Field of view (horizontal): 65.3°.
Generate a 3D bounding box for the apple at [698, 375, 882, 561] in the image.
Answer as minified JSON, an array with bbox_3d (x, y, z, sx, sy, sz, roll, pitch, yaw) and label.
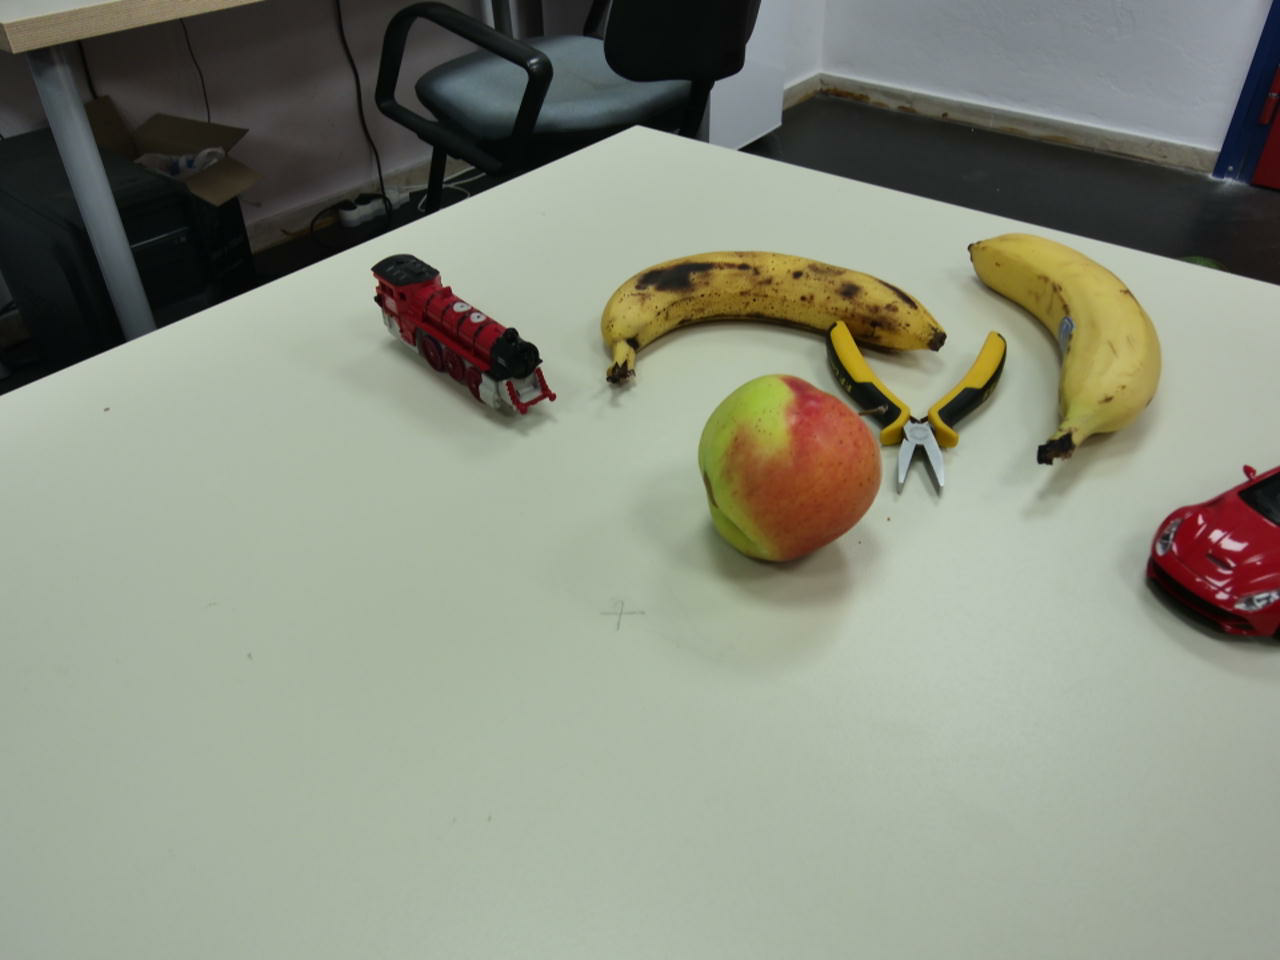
[{"bbox_3d":[0.060,-0.005,0.414,0.075,0.074,0.075,11,37,16],"label":"apple"}]
